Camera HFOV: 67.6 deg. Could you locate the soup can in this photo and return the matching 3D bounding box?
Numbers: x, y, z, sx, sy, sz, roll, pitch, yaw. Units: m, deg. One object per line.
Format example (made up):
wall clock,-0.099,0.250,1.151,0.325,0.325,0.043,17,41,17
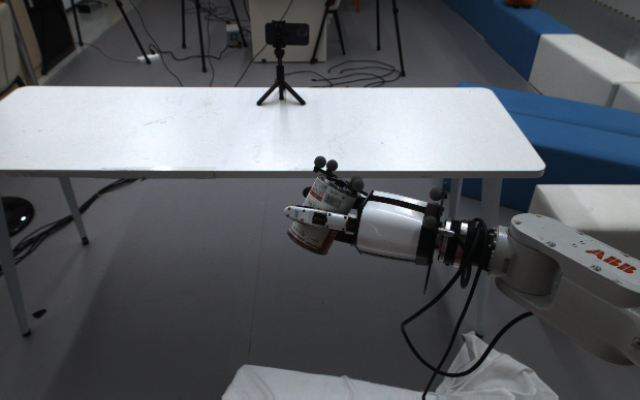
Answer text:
soup can,0.005,0.021,0.712,0.067,0.101,0.067,27,10,-5
